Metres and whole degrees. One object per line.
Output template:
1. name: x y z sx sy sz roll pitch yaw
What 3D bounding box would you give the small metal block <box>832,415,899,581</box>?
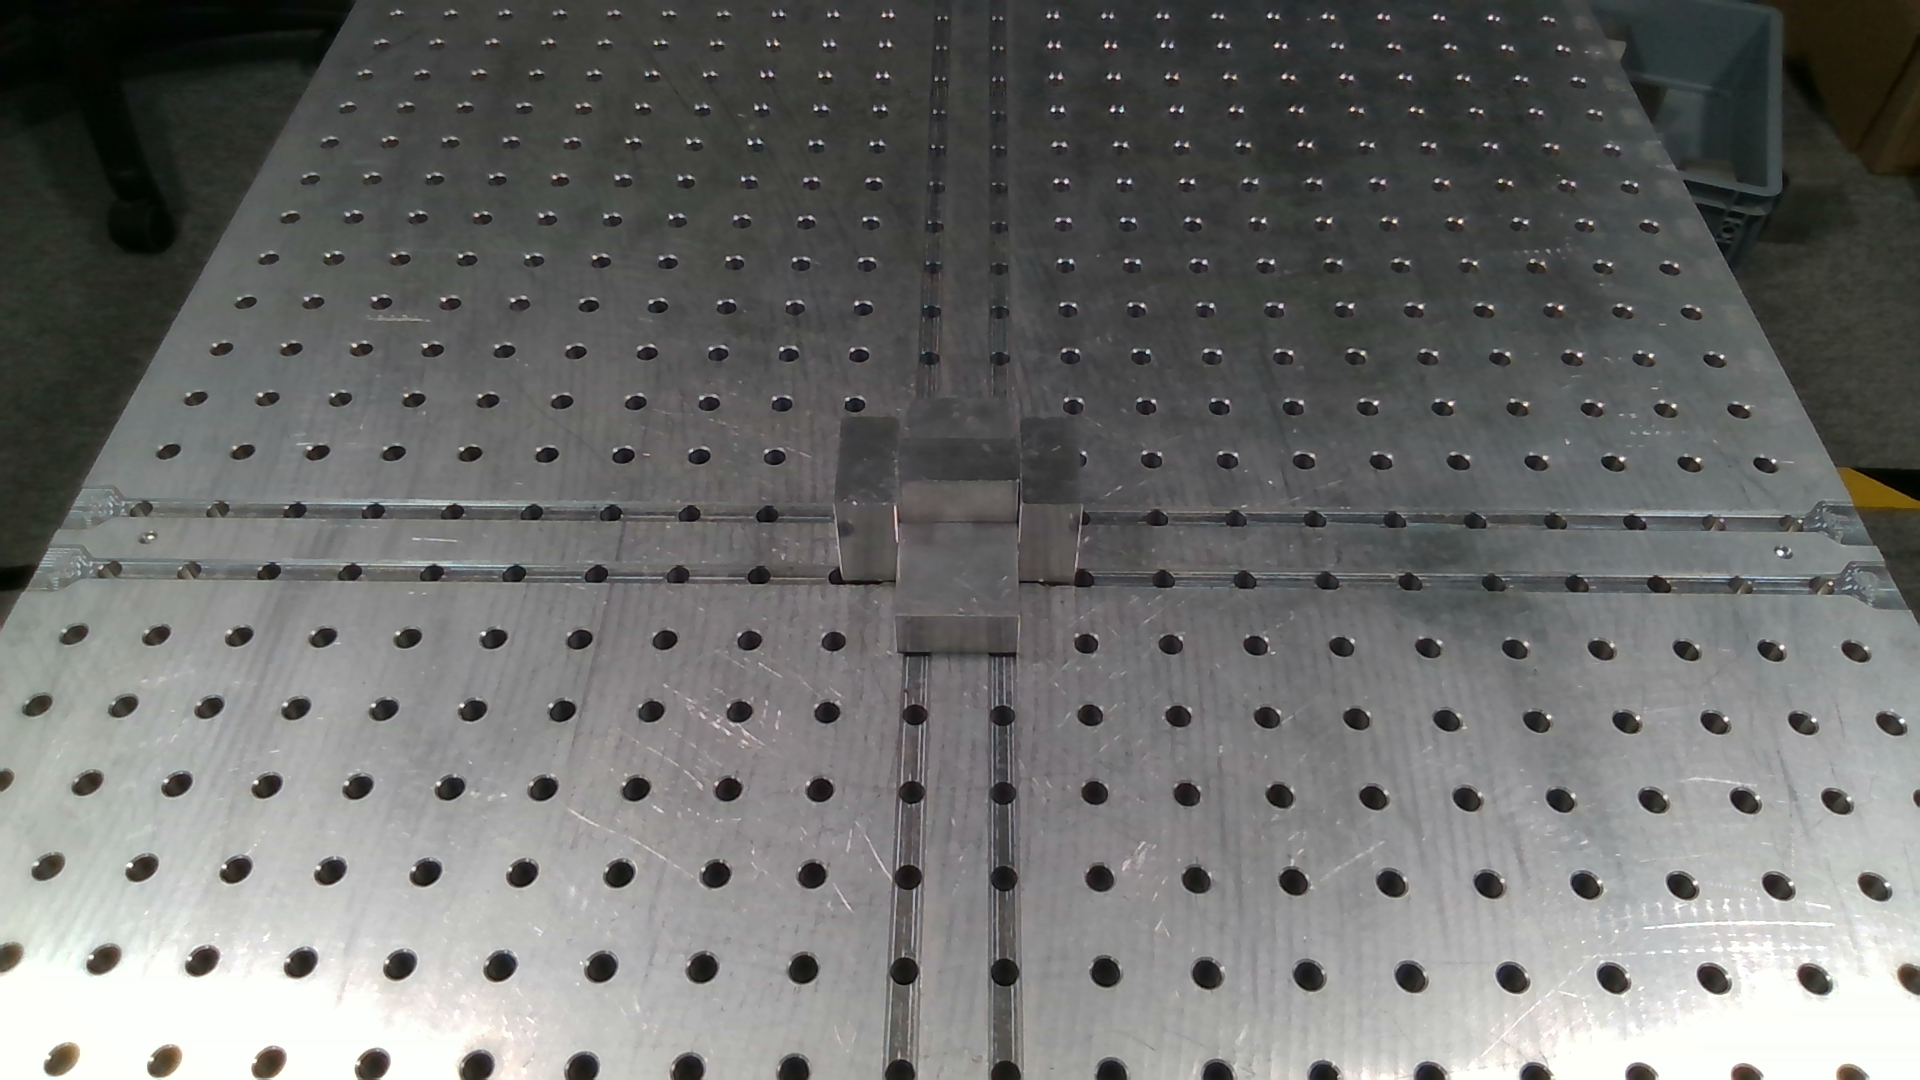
1. small metal block: -0.039 -0.018 0.588 0.025 0.050 0.050 0 50 0

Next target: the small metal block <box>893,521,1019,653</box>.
1. small metal block: -0.001 0.019 0.574 0.050 0.025 0.050 1 50 1

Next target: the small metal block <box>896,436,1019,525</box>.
1. small metal block: -0.001 -0.018 0.588 0.050 0.050 0.025 0 50 0

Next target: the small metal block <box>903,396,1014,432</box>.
1. small metal block: -0.001 -0.038 0.622 0.050 0.025 0.050 0 50 0

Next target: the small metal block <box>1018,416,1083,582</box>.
1. small metal block: 0.037 -0.017 0.588 0.025 0.050 0.050 0 50 0
